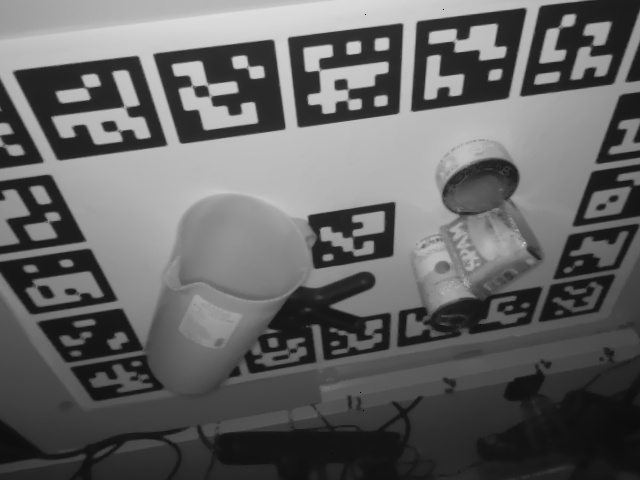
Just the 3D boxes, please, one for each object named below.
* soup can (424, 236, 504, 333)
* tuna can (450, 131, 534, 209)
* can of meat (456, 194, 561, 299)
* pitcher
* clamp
[{"bbox_3d":[0.172,0.053,0.842,0.068,0.102,0.067,-8,135,-7],"label":"soup can"},{"bbox_3d":[0.187,-0.076,0.758,0.086,0.034,0.085,-7,135,-6],"label":"tuna can"},{"bbox_3d":[0.215,0.002,0.793,0.083,0.102,0.058,-36,130,19],"label":"can of meat"},{"bbox_3d":[-0.095,0.070,0.767,0.192,0.133,0.238,-12,149,-34],"label":"pitcher"},{"bbox_3d":[0.014,0.085,0.899,0.166,0.037,0.121,-5,141,-3],"label":"clamp"}]
